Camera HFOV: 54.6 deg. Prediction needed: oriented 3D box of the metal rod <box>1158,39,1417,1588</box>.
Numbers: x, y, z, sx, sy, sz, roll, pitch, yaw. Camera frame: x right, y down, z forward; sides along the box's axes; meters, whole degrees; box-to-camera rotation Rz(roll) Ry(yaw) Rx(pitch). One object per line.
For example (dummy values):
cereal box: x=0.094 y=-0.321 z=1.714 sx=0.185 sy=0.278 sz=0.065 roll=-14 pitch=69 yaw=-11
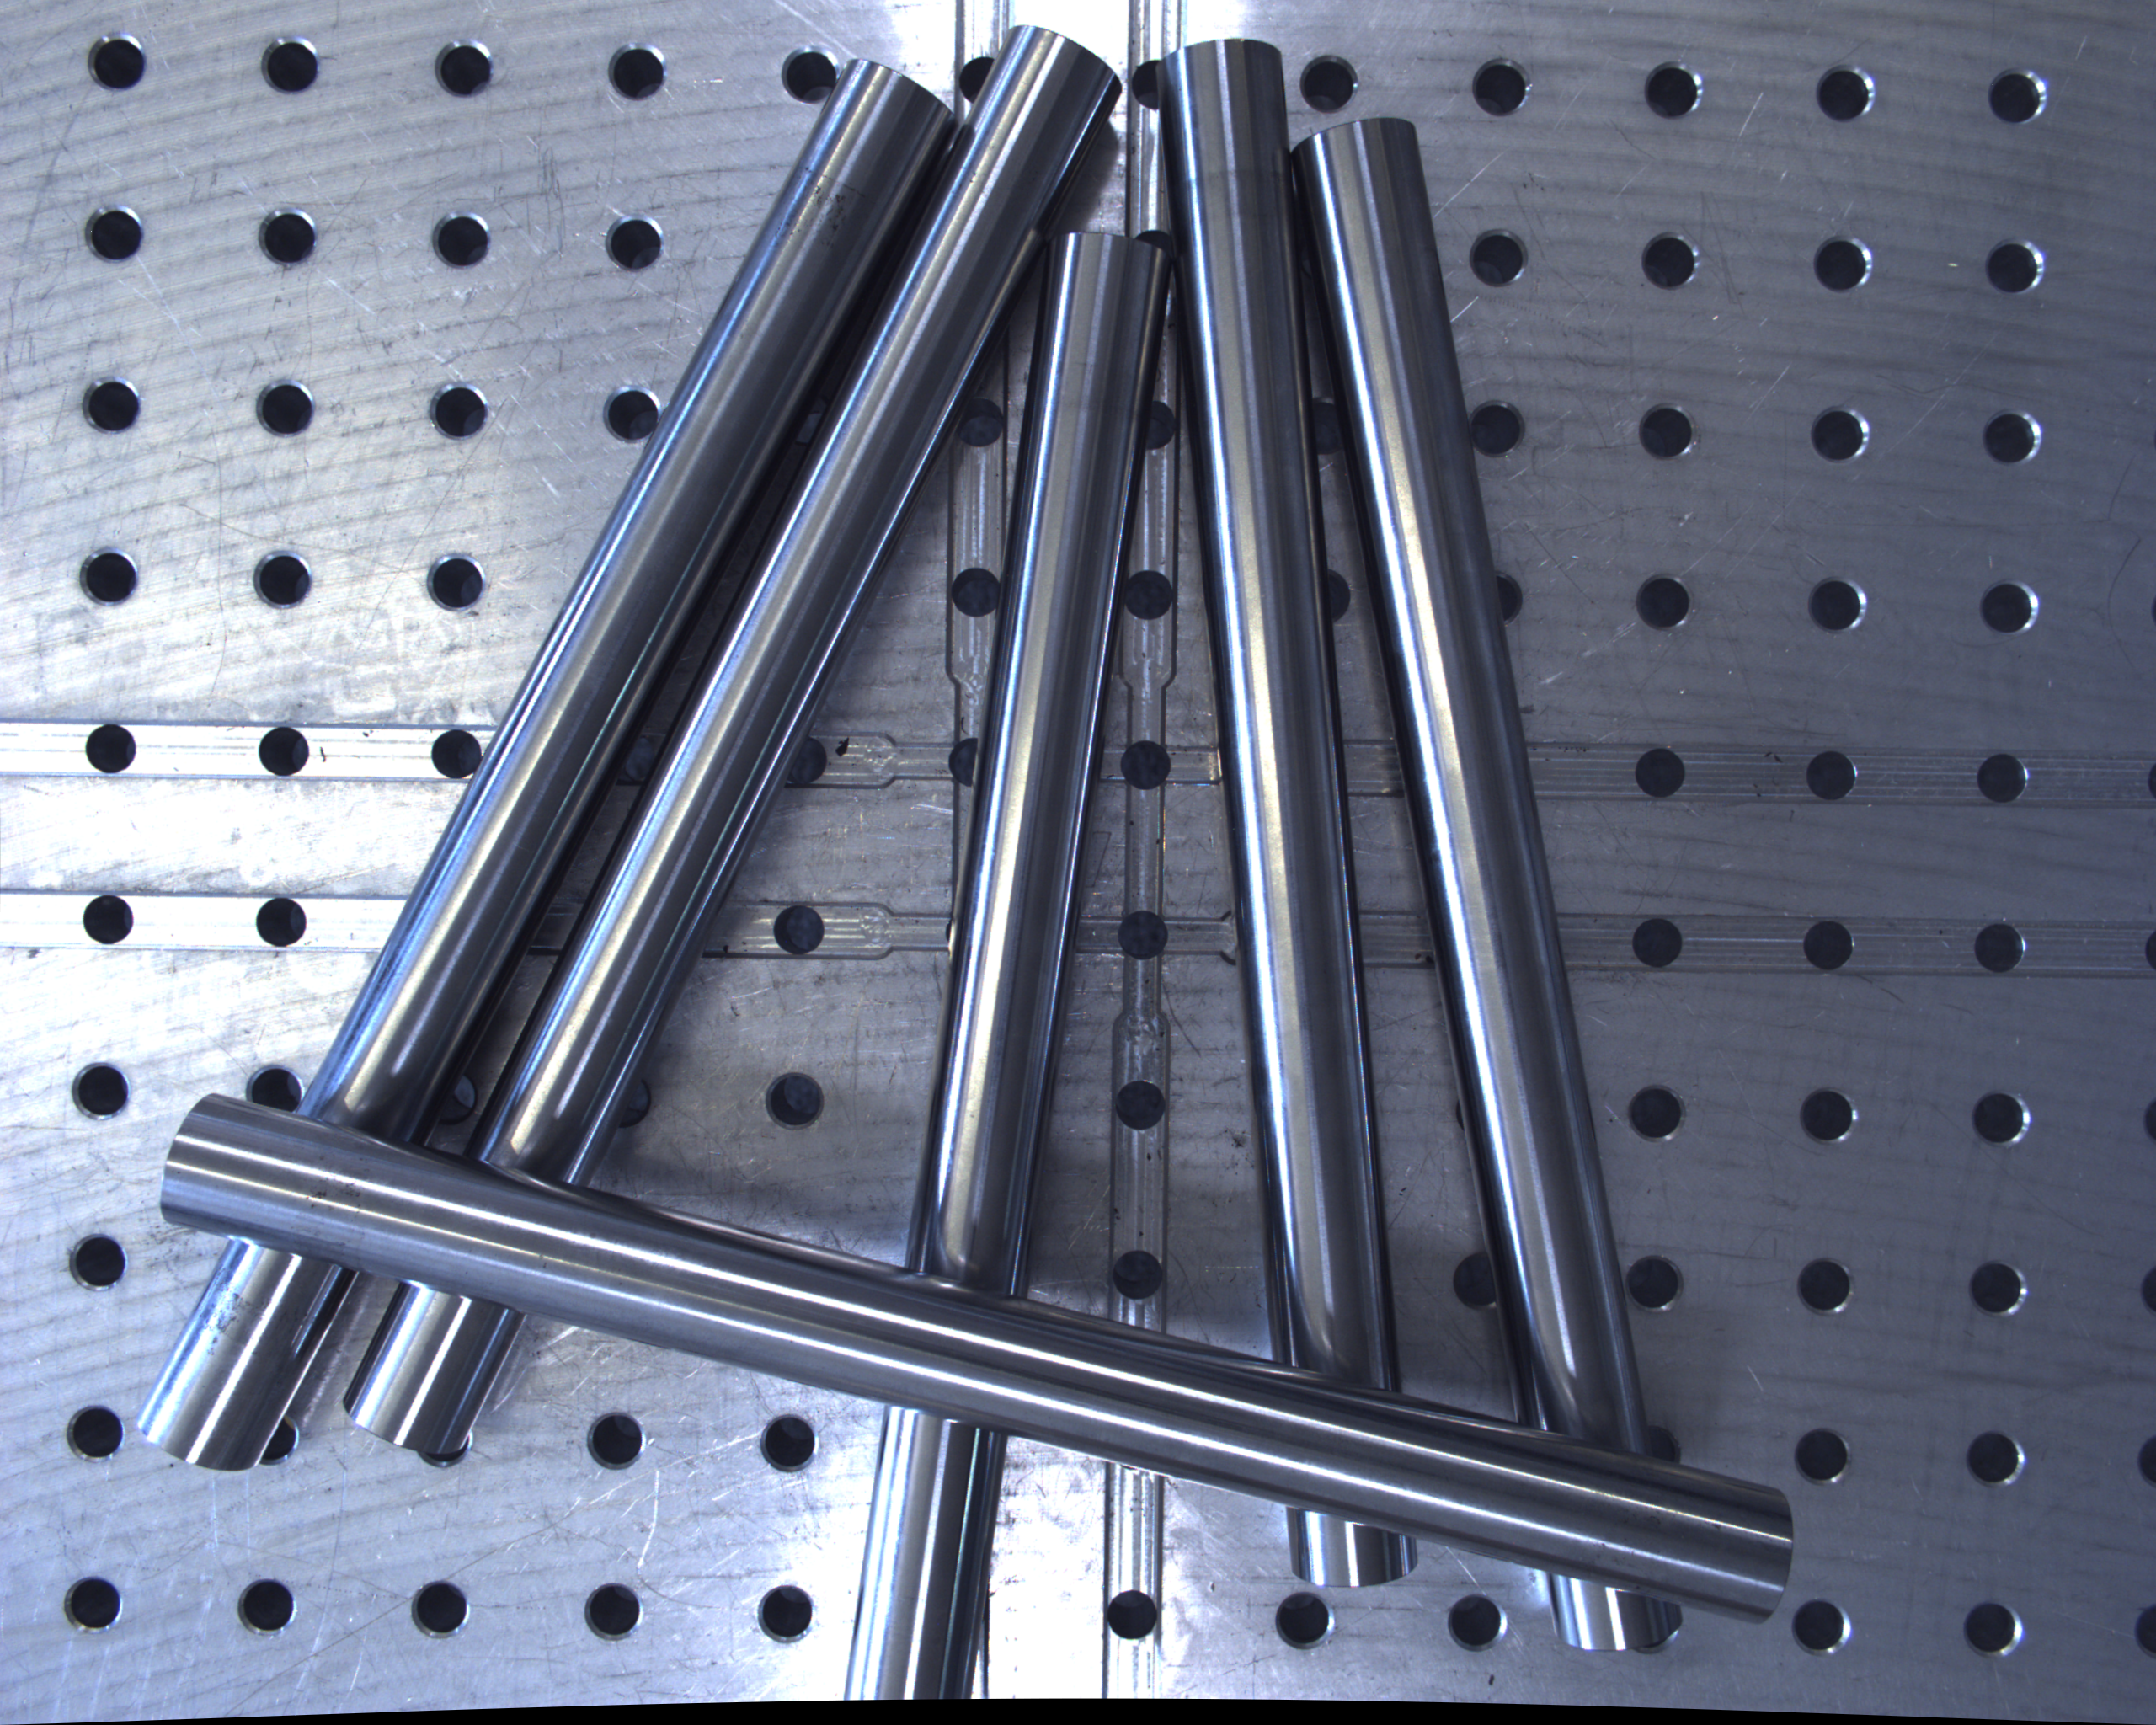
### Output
metal rod: x=0.042 y=-0.009 z=0.414 sx=0.025 sy=0.025 sz=0.298 roll=-5 pitch=90 yaw=0

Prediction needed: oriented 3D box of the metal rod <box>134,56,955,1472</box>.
metal rod: x=-0.104 y=-0.019 z=0.412 sx=0.025 sy=0.025 sz=0.299 roll=28 pitch=90 yaw=0

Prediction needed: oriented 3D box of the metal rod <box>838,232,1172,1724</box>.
metal rod: x=-0.015 y=0.027 z=0.413 sx=0.025 sy=0.025 sz=0.298 roll=8 pitch=90 yaw=0

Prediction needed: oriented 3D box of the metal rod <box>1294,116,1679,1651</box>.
metal rod: x=0.081 y=0.004 z=0.414 sx=0.025 sy=0.025 sz=0.299 roll=-10 pitch=90 yaw=0

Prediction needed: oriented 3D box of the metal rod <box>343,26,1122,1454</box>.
metal rod: x=-0.068 y=-0.024 z=0.413 sx=0.025 sy=0.025 sz=0.299 roll=26 pitch=90 yaw=0
